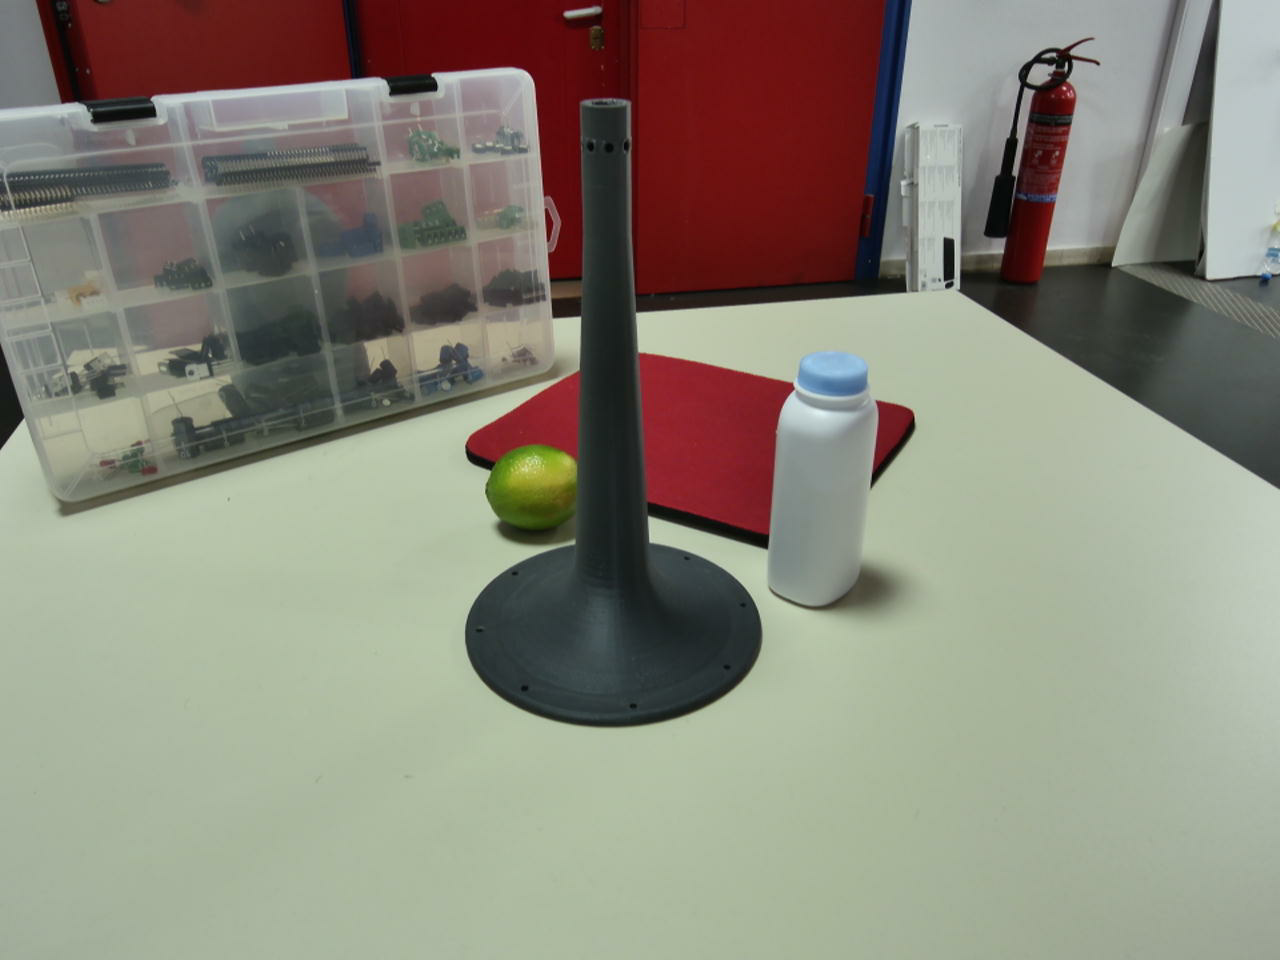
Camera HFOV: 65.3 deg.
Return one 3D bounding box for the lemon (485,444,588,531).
[{"bbox_3d":[-0.062,0.004,0.596,0.055,0.050,0.054,20,32,33],"label":"lemon"}]
